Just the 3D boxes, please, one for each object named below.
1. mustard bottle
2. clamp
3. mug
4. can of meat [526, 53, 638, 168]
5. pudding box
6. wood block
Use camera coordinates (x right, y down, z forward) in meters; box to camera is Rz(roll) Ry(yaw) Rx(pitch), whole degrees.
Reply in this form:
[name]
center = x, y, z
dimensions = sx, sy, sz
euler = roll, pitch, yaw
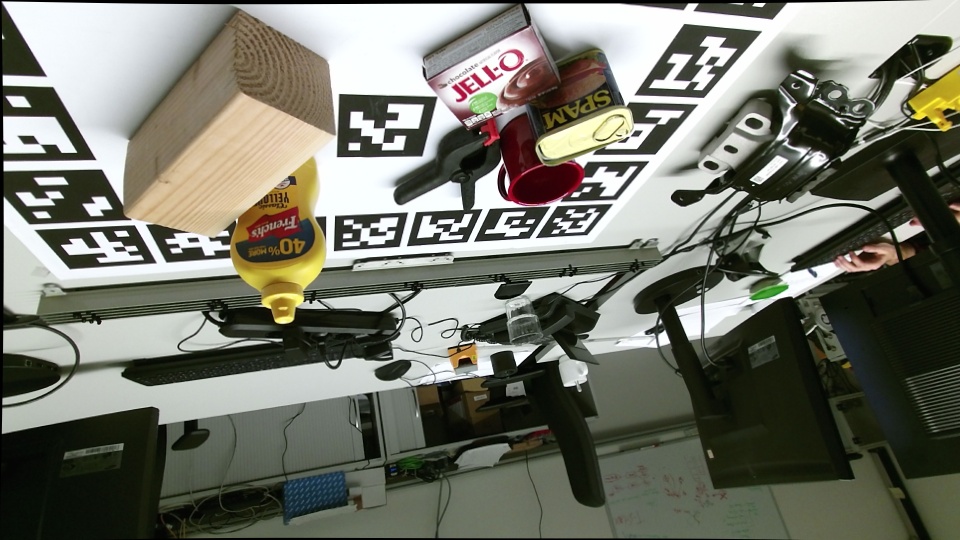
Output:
[mustard bottle]
center = -0.213, -0.025, 0.578
dimensions = 0.096, 0.190, 0.058
euler = -9, 154, -13
[clamp]
center = -0.028, -0.118, 0.676
dimensions = 0.122, 0.036, 0.165
euler = 6, 146, -34
[mug]
center = 0.061, -0.141, 0.665
dimensions = 0.093, 0.081, 0.117
euler = 7, 146, -37
[can of meat]
center = 0.102, -0.168, 0.564
dimensions = 0.102, 0.083, 0.058
euler = -19, 153, 10
[pudding box]
center = 0.007, -0.193, 0.528
dimensions = 0.114, 0.038, 0.090
euler = -22, 153, 19
[wood block]
center = -0.242, -0.119, 0.500
dimensions = 0.206, 0.090, 0.090
euler = -28, 154, 31
